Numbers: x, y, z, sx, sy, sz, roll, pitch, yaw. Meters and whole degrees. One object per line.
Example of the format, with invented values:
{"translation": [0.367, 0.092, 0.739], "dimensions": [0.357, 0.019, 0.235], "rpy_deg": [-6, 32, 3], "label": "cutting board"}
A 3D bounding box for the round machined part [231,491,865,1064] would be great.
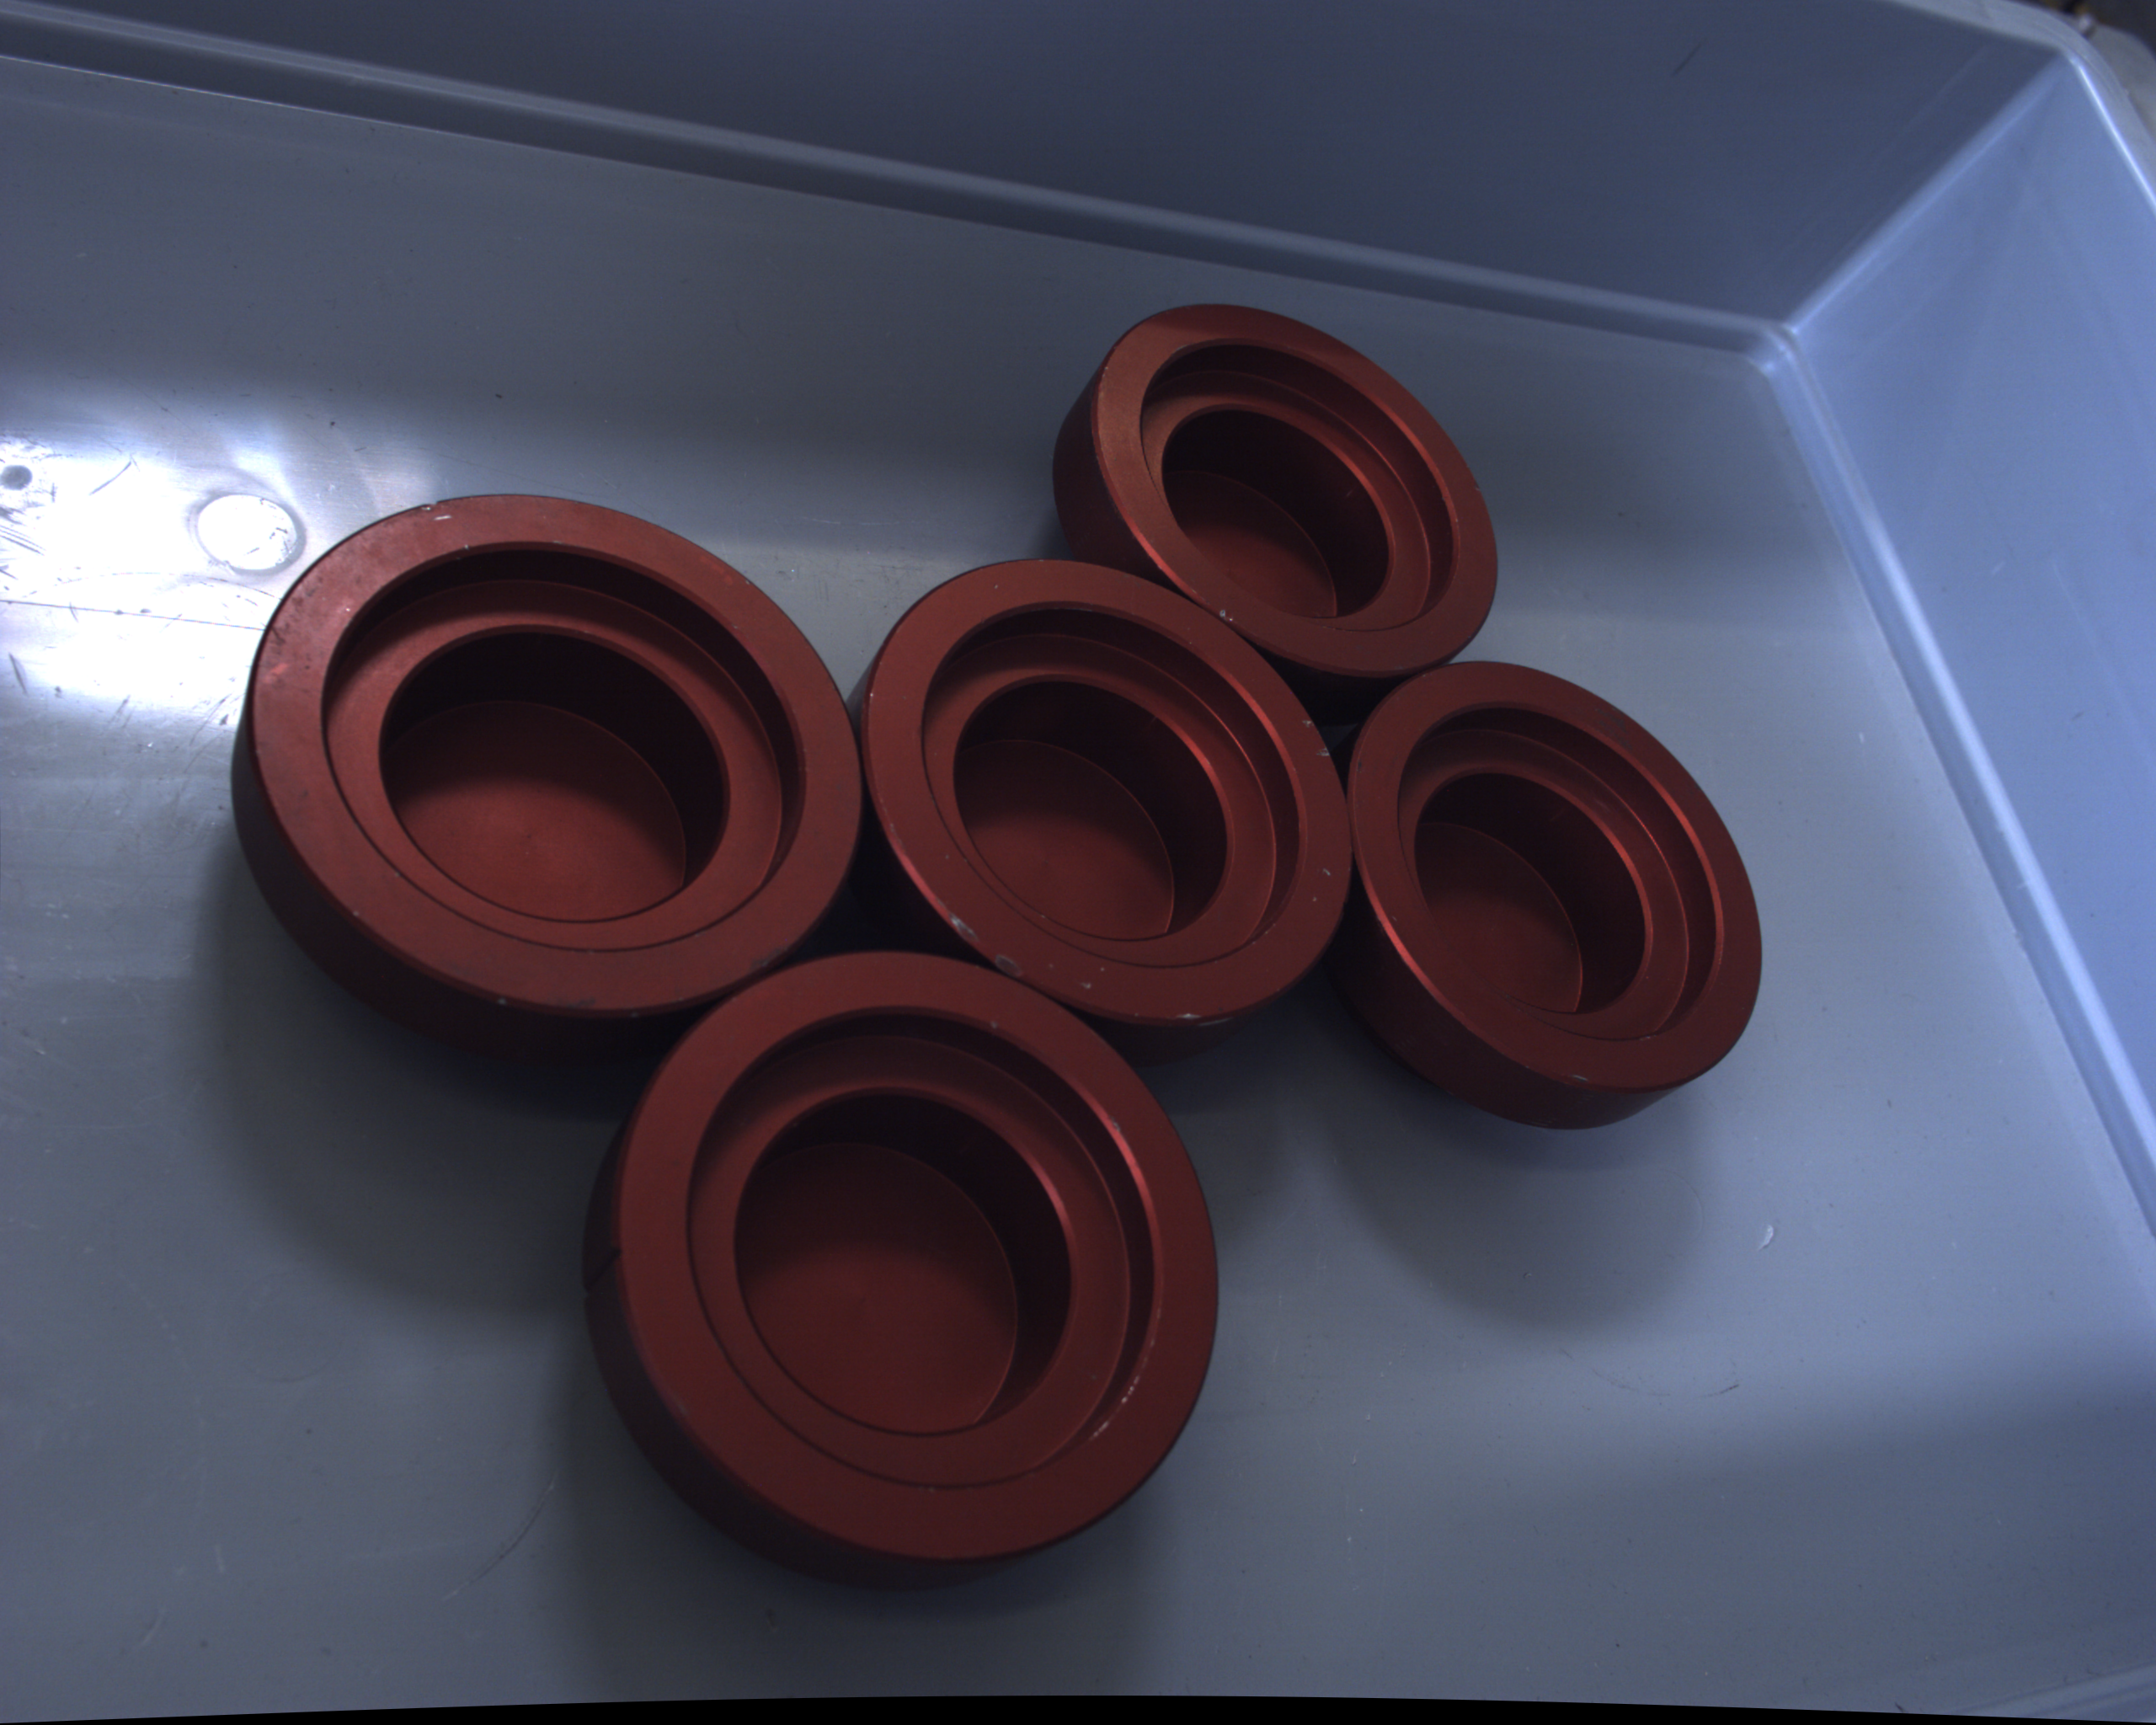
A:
{"translation": [-0.089, -0.011, 0.350], "dimensions": [0.099, 0.042, 0.098], "rpy_deg": [14, 56, -21], "label": "round machined part"}

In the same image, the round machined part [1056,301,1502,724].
{"translation": [0.040, -0.071, 0.456], "dimensions": [0.099, 0.042, 0.098], "rpy_deg": [14, 56, -21], "label": "round machined part"}

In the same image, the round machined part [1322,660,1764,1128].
{"translation": [0.089, 0.010, 0.433], "dimensions": [0.099, 0.042, 0.098], "rpy_deg": [14, 56, -21], "label": "round machined part"}

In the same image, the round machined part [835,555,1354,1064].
{"translation": [-0.001, -0.006, 0.394], "dimensions": [0.099, 0.042, 0.098], "rpy_deg": [14, 56, -21], "label": "round machined part"}

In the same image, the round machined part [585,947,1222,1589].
{"translation": [-0.030, 0.066, 0.334], "dimensions": [0.099, 0.042, 0.098], "rpy_deg": [14, 56, -21], "label": "round machined part"}
